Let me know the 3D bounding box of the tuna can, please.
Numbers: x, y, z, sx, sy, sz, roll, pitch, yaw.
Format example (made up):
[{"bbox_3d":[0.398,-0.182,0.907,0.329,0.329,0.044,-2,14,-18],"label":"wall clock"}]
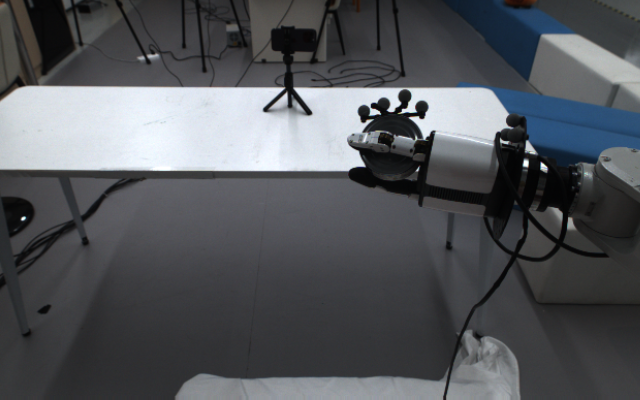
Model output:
[{"bbox_3d":[0.097,-0.071,0.656,0.085,0.034,0.085,-4,73,14],"label":"tuna can"}]
